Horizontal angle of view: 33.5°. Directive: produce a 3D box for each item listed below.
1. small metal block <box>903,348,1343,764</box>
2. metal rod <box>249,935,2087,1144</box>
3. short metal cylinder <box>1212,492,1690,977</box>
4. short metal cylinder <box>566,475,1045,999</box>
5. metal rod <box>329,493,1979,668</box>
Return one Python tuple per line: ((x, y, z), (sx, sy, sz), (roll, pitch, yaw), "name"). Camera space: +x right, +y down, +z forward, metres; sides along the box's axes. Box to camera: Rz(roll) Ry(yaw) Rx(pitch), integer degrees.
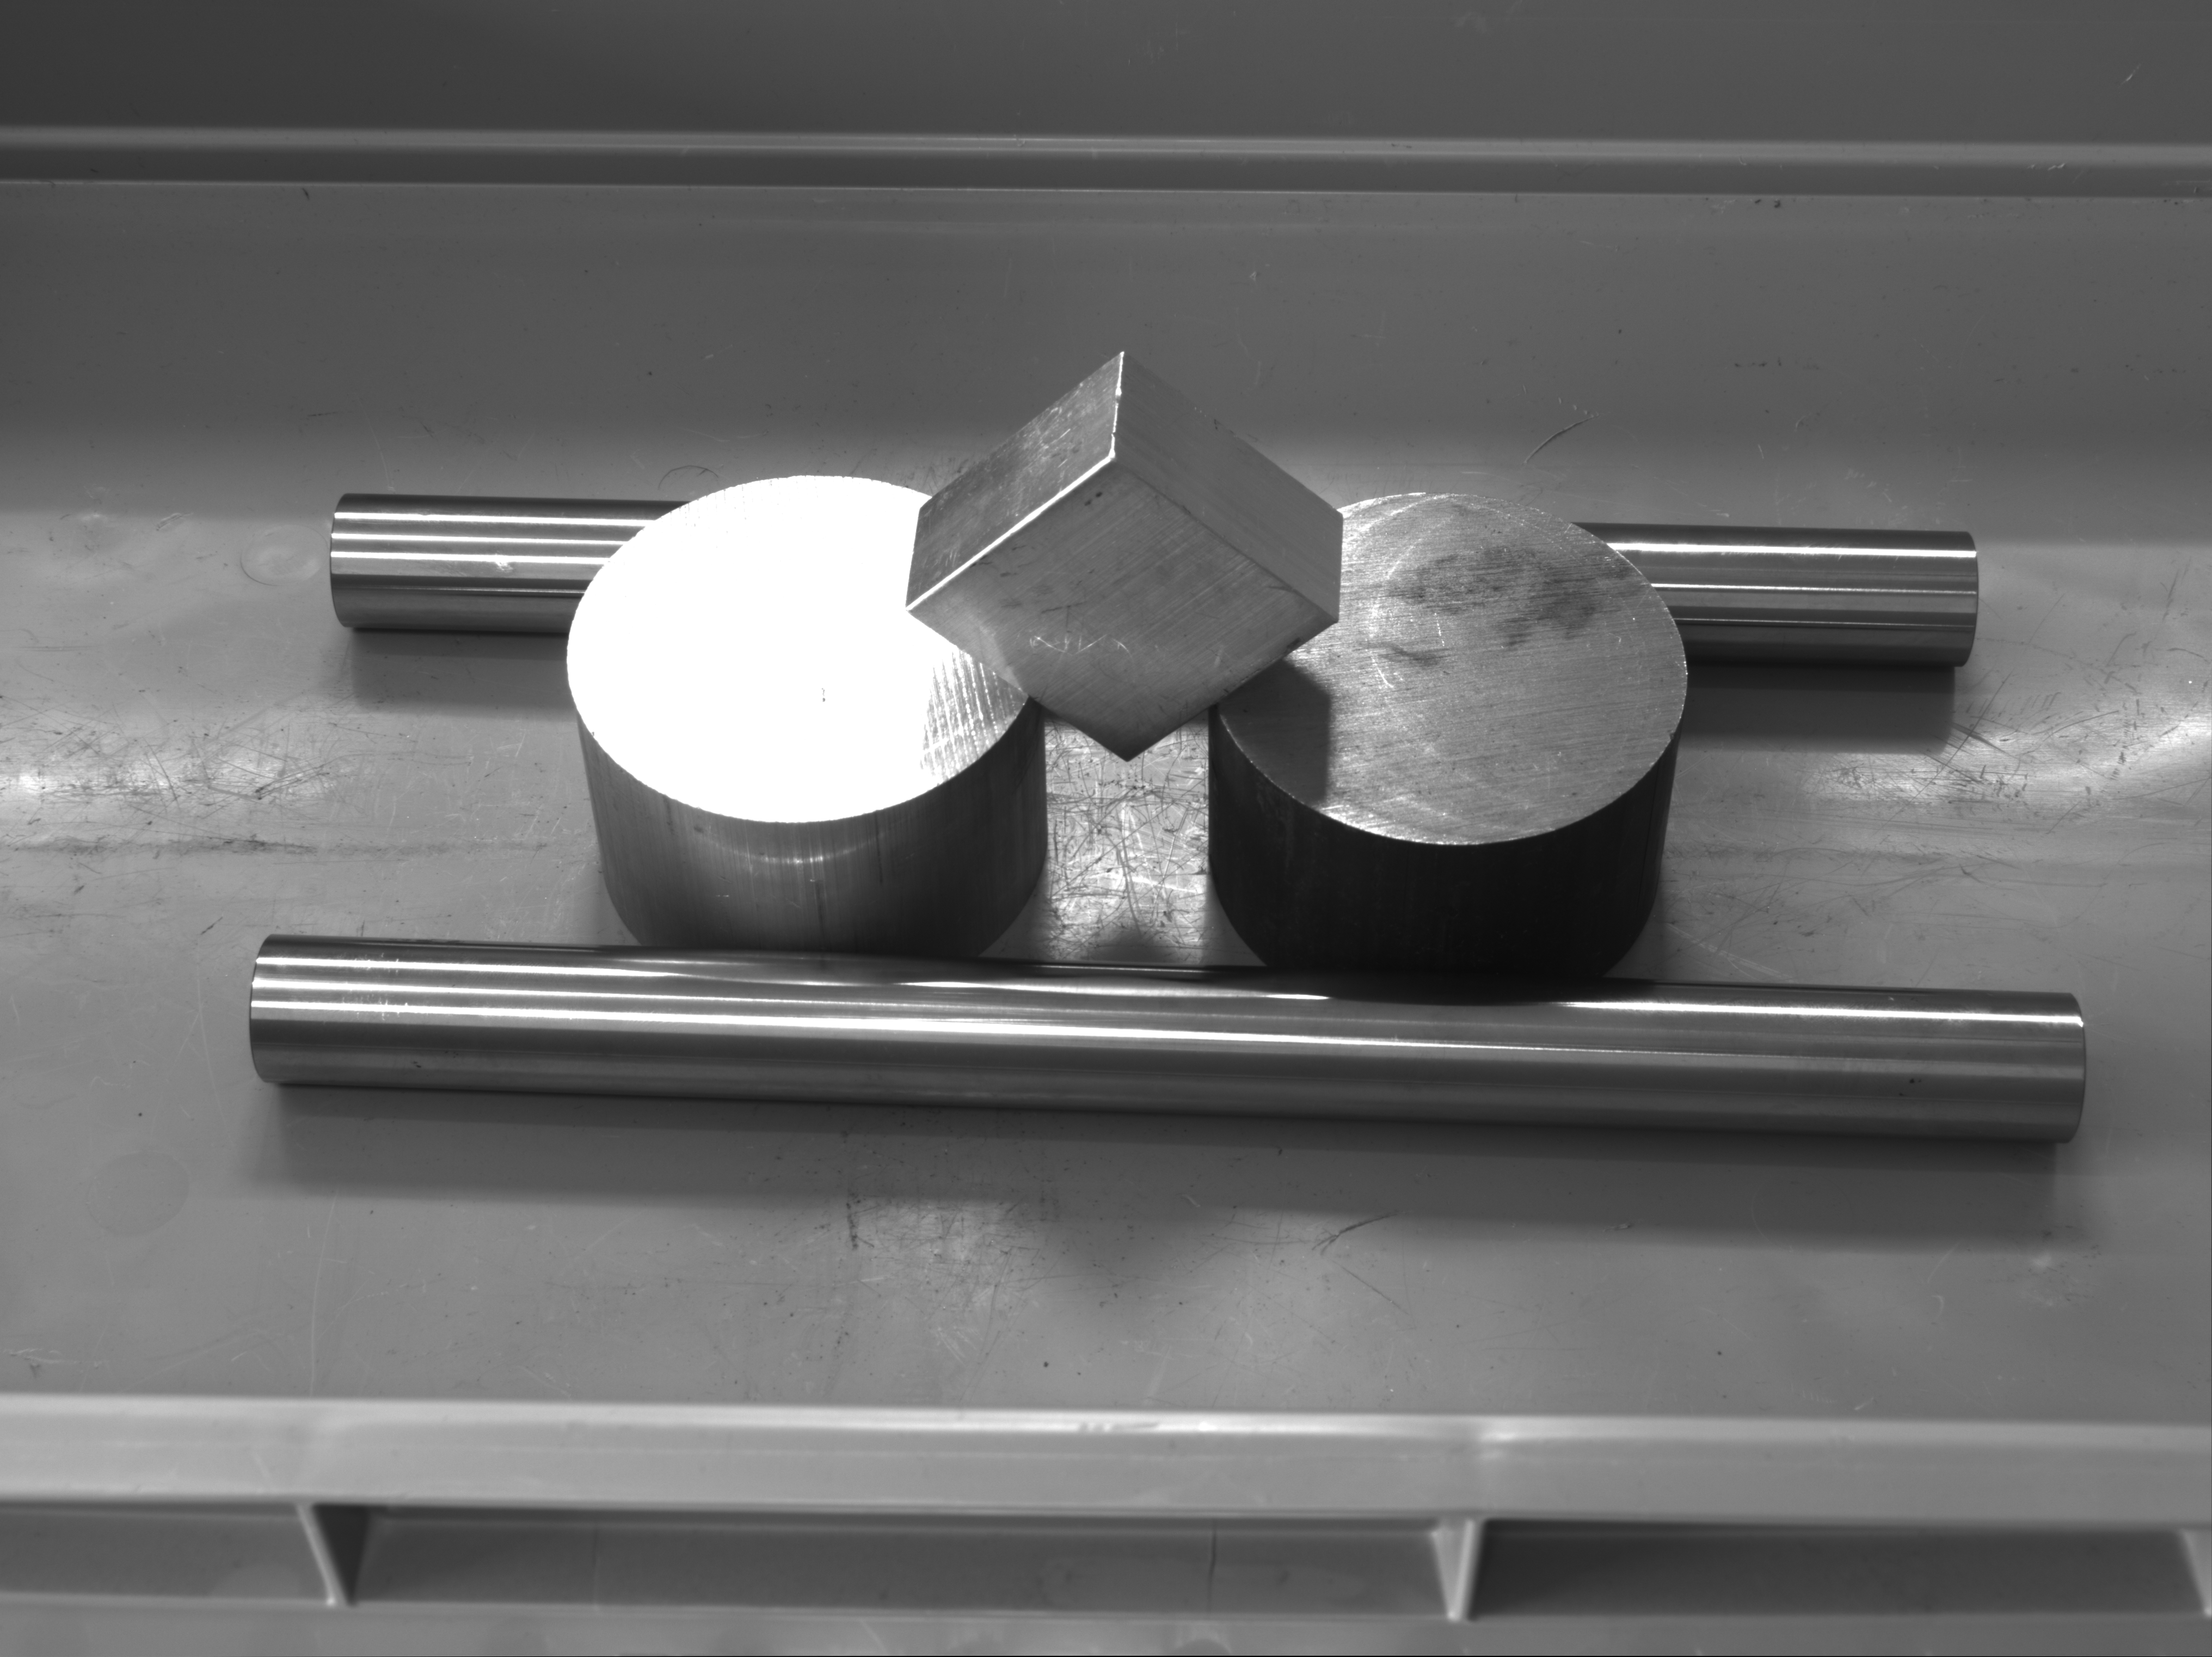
((0.003, -0.044, 0.601), (0.050, 0.050, 0.025), (33, 41, -29), "small metal block")
((0.010, 0.035, 0.612), (0.300, 0.025, 0.025), (2, 50, 2), "metal rod")
((0.058, -0.012, 0.635), (0.080, 0.050, 0.080), (0, 50, 0), "short metal cylinder")
((-0.051, -0.015, 0.638), (0.080, 0.050, 0.080), (0, 50, 0), "short metal cylinder")
((0.008, -0.046, 0.680), (0.300, 0.025, 0.025), (1, 50, 1), "metal rod")
